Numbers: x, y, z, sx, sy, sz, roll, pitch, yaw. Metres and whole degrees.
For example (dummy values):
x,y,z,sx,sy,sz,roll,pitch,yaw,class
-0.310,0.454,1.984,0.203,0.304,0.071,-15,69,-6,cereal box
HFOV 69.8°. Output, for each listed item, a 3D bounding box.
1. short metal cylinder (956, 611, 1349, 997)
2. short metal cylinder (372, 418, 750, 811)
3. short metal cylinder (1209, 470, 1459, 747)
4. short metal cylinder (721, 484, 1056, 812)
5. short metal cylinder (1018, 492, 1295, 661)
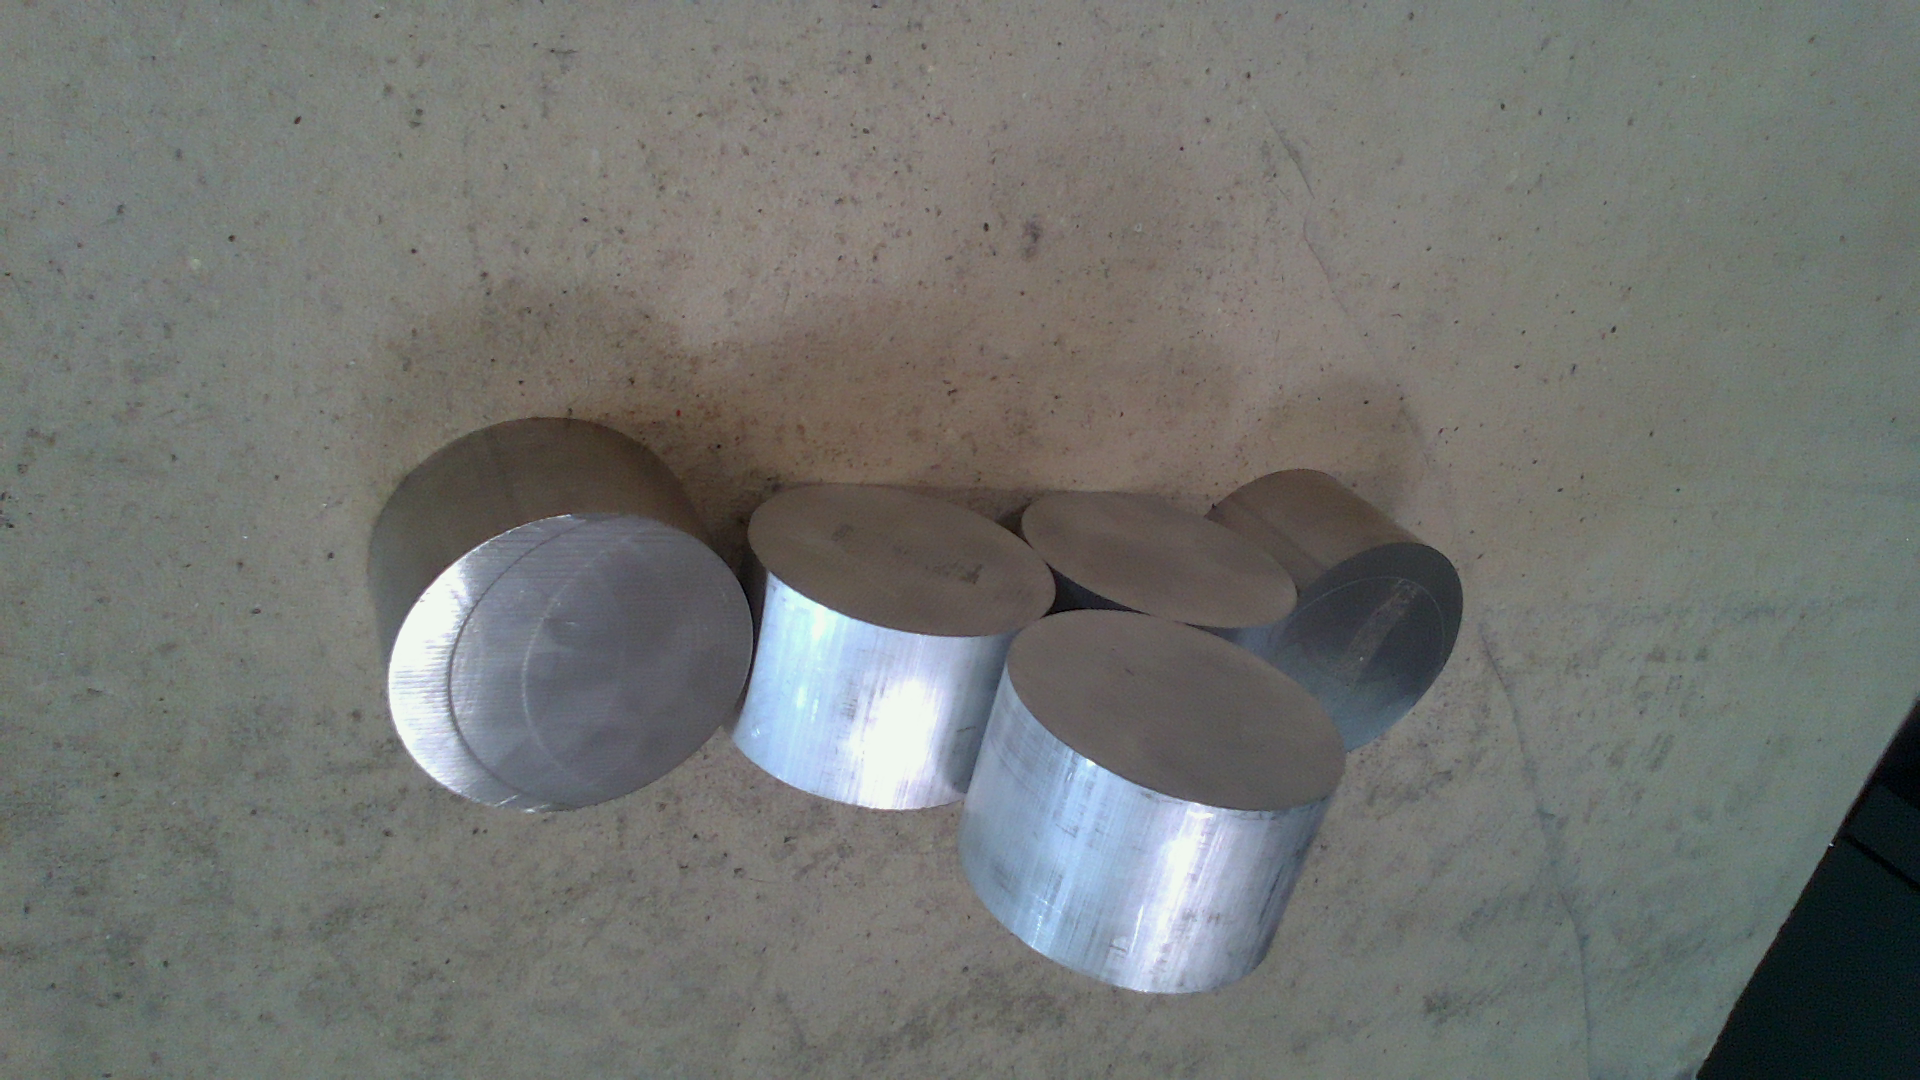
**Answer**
x,y,z,sx,sy,sz,roll,pitch,yaw,class
0.044,0.059,0.325,0.080,0.080,0.050,1,119,-29,short metal cylinder
-0.097,0.017,0.331,0.080,0.050,0.080,-14,124,-21,short metal cylinder
0.114,0.024,0.449,0.080,0.050,0.080,-14,125,-21,short metal cylinder
-0.020,0.026,0.359,0.080,0.080,0.050,0,118,-28,short metal cylinder
0.050,0.026,0.398,0.080,0.080,0.050,0,118,-28,short metal cylinder
